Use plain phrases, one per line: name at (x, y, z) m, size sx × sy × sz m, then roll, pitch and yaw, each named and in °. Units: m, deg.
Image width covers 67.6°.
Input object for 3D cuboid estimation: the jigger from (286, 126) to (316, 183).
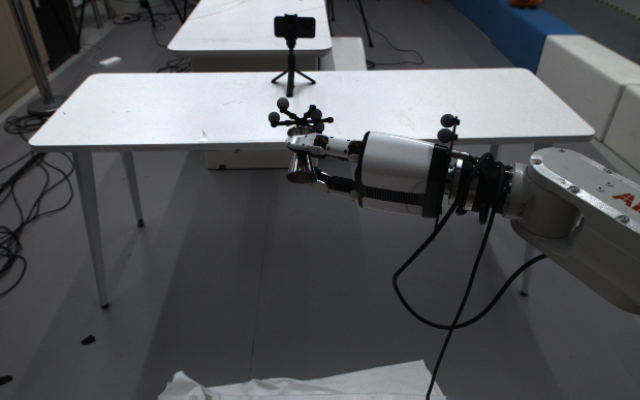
jigger at (-0.026, -0.063, 0.659) m, size 0.043 × 0.043 × 0.071 m, roll 1°, pitch 70°, yaw -2°
